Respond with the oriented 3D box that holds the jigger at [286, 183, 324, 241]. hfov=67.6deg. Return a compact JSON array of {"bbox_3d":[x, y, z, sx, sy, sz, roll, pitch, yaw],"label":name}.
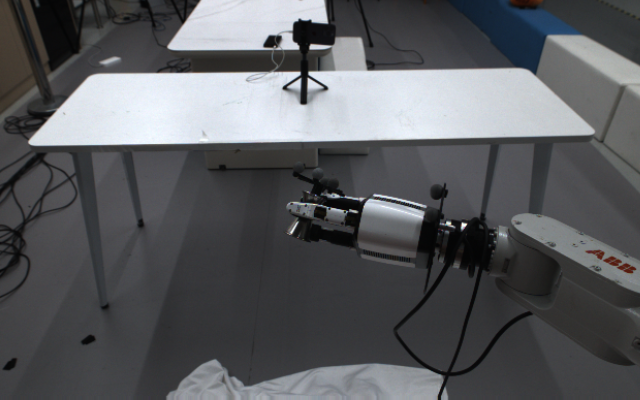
[{"bbox_3d":[-0.022,0.022,0.712,0.043,0.071,0.043,24,-2,1],"label":"jigger"}]
